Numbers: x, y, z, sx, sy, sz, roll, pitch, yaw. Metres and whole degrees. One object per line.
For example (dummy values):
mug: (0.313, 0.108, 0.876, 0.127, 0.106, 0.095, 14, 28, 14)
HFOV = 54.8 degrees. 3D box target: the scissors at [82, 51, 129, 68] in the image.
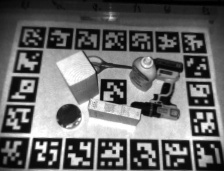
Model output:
scissors: (-0.034, -0.093, 0.846, 0.203, 0.016, 0.087, 3, 68, -1)

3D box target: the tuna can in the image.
tuna can: (-0.158, 0.099, 0.767, 0.086, 0.034, 0.085, 1, 73, -2)

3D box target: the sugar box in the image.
sugar box: (0.008, 0.086, 0.752, 0.176, 0.093, 0.045, 12, 69, 0)

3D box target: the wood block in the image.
wood block: (-0.115, -0.026, 0.732, 0.091, 0.207, 0.089, -27, 75, -9)

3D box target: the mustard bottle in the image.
mustard bottle: (0.104, -0.058, 0.757, 0.058, 0.192, 0.096, -39, 77, -11)

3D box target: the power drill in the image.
power drill: (0.151, 0.010, 0.799, 0.184, 0.057, 0.187, 14, 79, 3)
